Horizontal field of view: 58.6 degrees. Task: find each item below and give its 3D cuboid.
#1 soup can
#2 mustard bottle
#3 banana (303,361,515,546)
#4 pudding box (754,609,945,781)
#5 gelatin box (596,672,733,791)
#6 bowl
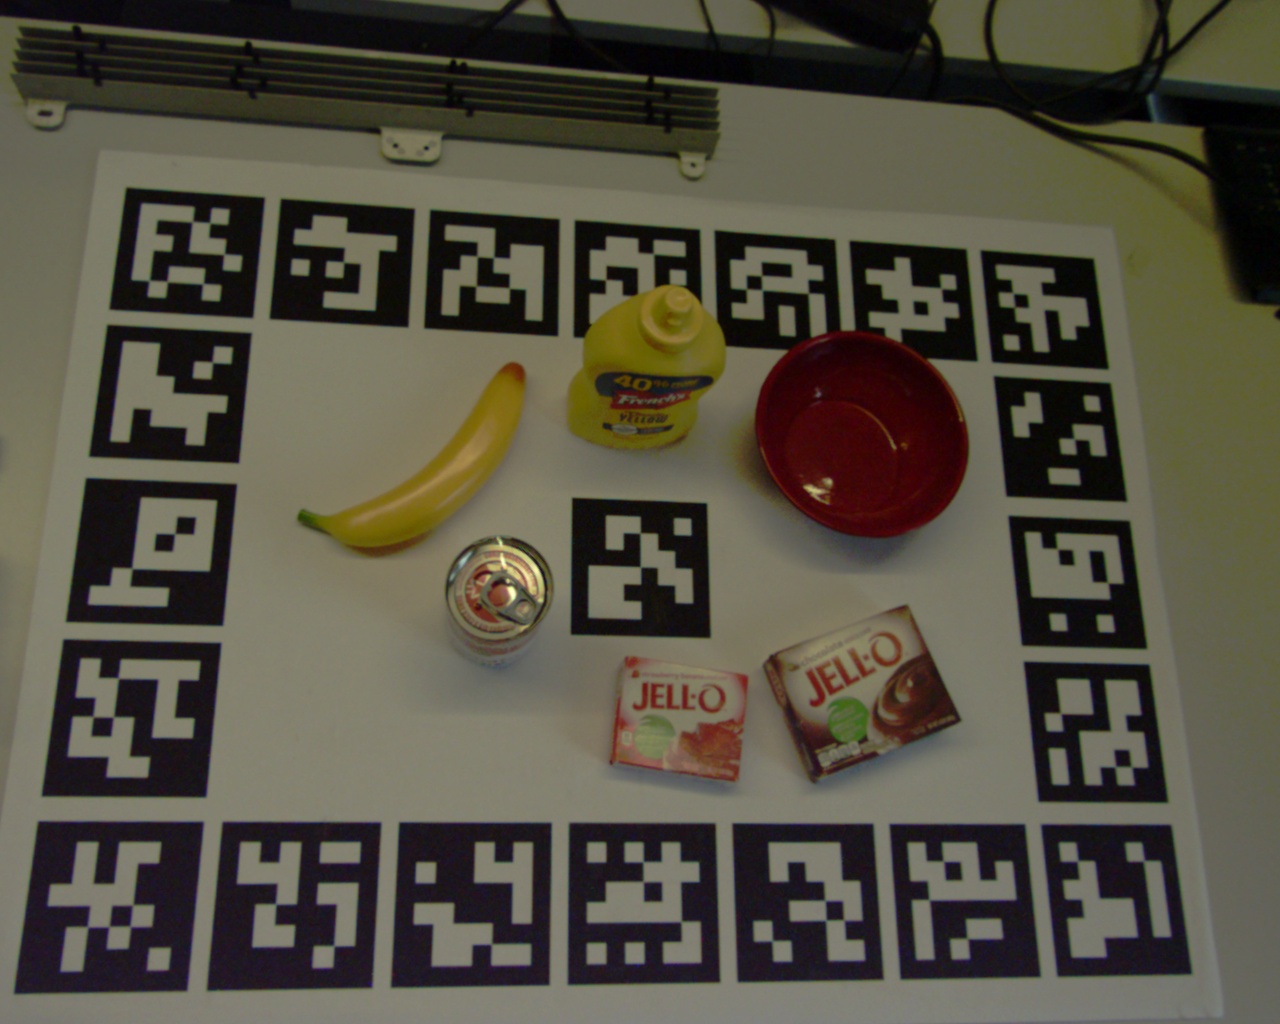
[{"bbox_3d":[-0.106,0.061,0.780,0.067,0.102,0.068,3,71,-11],"label":"soup can"},{"bbox_3d":[0.005,-0.095,0.795,0.096,0.192,0.058,3,70,-9],"label":"mustard bottle"},{"bbox_3d":[-0.154,-0.037,0.846,0.075,0.039,0.196,39,71,15],"label":"banana"},{"bbox_3d":[0.153,0.134,0.838,0.113,0.039,0.090,-21,83,-14],"label":"pudding box"},{"bbox_3d":[0.018,0.157,0.816,0.089,0.030,0.073,9,75,-5],"label":"gelatin box"},{"bbox_3d":[0.160,-0.048,0.890,0.161,0.055,0.162,2,72,-7],"label":"bowl"}]
